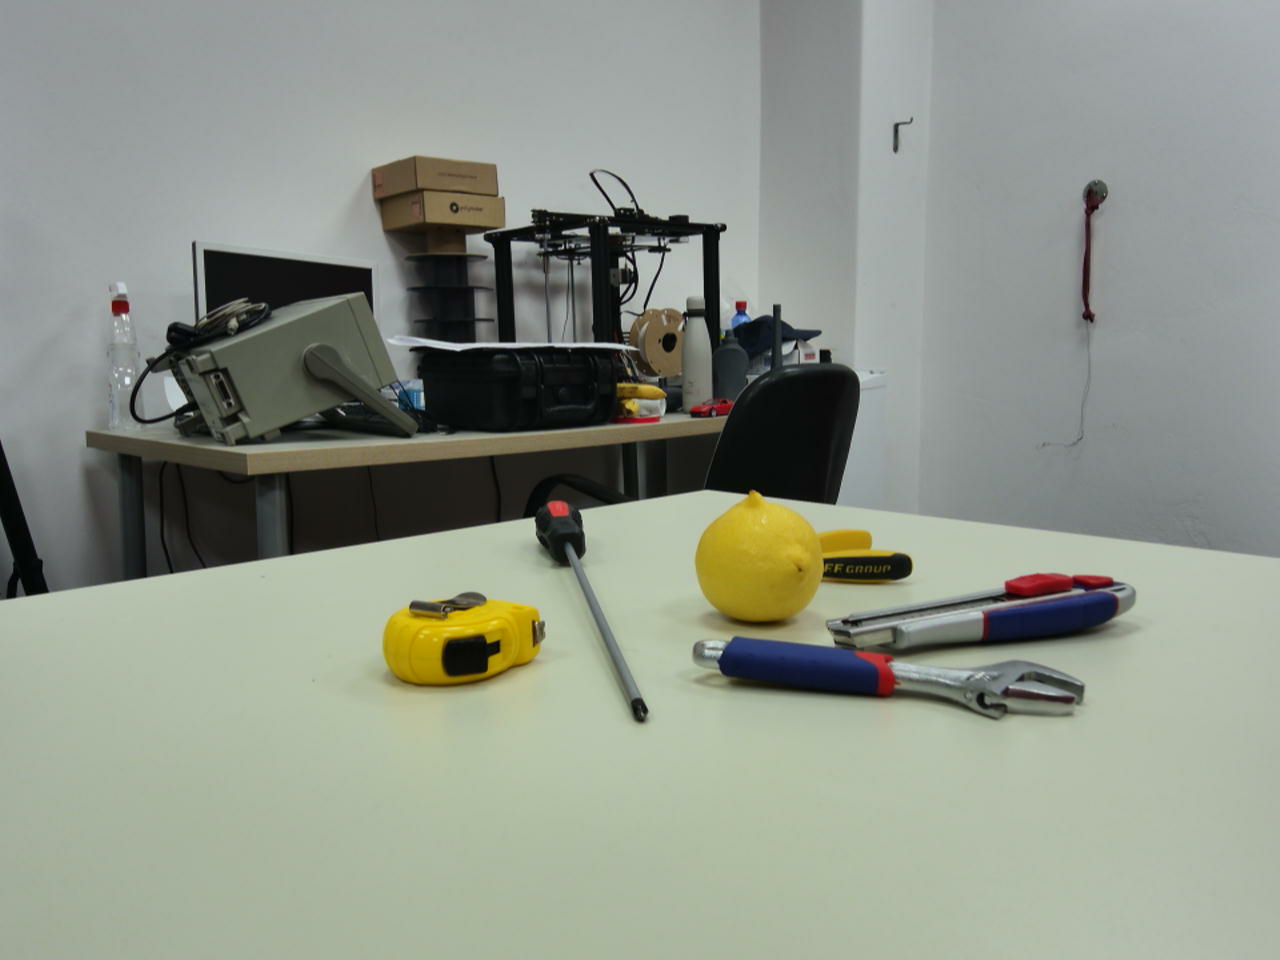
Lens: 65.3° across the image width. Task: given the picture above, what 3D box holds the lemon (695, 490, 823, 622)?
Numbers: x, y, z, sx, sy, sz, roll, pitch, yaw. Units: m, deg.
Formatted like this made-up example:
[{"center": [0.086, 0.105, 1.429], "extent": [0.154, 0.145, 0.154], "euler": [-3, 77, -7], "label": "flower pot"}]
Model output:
[{"center": [0.065, 0.042, 0.551], "extent": [0.070, 0.071, 0.071], "euler": [1, 5, 14], "label": "lemon"}]
